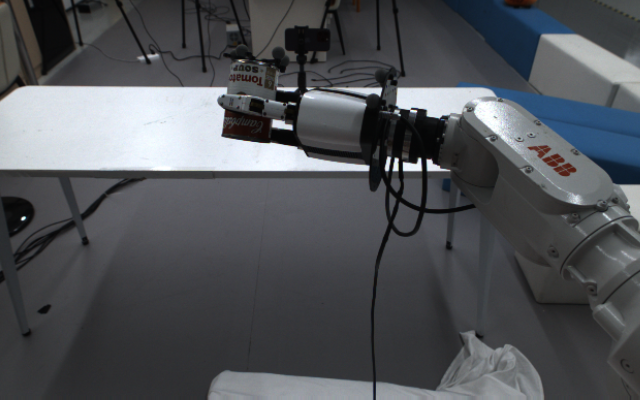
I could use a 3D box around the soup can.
[{"bbox_3d":[-0.095,-0.133,0.663,0.067,0.101,0.067,7,4,0],"label":"soup can"}]
